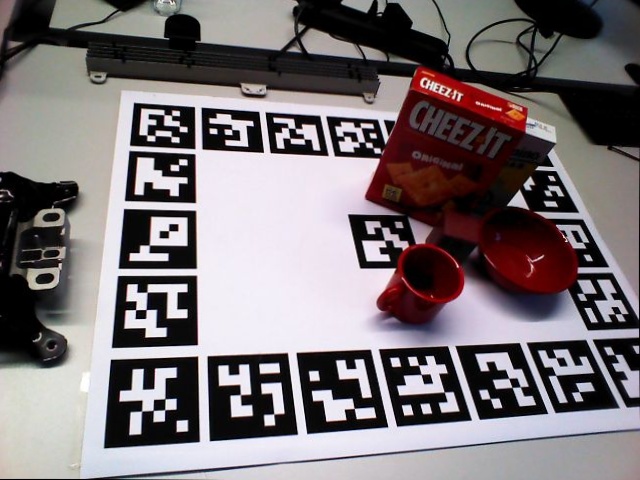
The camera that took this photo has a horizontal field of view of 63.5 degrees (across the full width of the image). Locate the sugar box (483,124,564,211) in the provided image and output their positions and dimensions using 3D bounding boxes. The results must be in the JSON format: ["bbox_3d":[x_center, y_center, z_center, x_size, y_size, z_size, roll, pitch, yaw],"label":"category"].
[{"bbox_3d":[0.290,-0.118,0.811,0.093,0.177,0.045,18,52,0],"label":"sugar box"}]

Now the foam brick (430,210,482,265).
[{"bbox_3d":[0.201,0.004,0.766,0.053,0.078,0.051,13,51,-4],"label":"foam brick"}]

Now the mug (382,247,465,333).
[{"bbox_3d":[0.136,0.071,0.686,0.117,0.082,0.093,-8,48,-17],"label":"mug"}]

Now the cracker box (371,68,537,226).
[{"bbox_3d":[0.188,-0.120,0.764,0.164,0.215,0.071,25,50,4],"label":"cracker box"}]

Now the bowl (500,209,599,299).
[{"bbox_3d":[0.325,0.029,0.774,0.162,0.055,0.160,7,53,-10],"label":"bowl"}]
